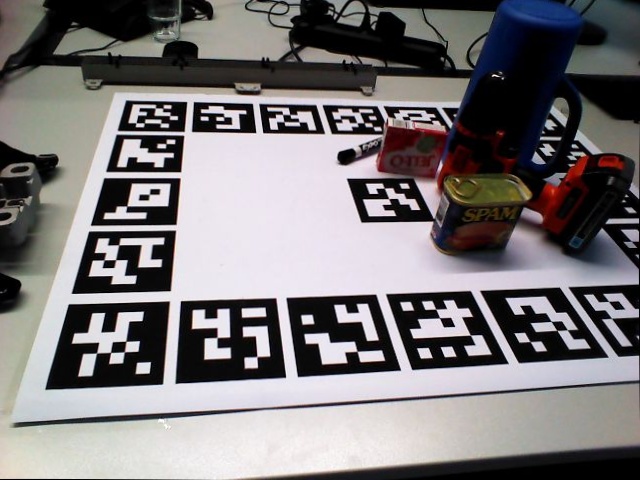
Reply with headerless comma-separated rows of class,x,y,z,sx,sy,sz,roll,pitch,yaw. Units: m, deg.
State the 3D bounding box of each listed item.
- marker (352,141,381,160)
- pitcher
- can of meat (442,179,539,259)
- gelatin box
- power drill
marker,0.101,-0.147,0.804,0.120,0.020,0.019,-20,49,-26
pitcher,0.313,-0.187,0.725,0.189,0.243,0.132,18,46,21
can of meat,0.208,-0.024,0.634,0.102,0.084,0.057,0,41,-9
gelatin box,0.163,-0.128,0.755,0.089,0.073,0.030,9,46,-1
power drill,0.273,-0.101,0.659,0.187,0.185,0.057,29,48,14
